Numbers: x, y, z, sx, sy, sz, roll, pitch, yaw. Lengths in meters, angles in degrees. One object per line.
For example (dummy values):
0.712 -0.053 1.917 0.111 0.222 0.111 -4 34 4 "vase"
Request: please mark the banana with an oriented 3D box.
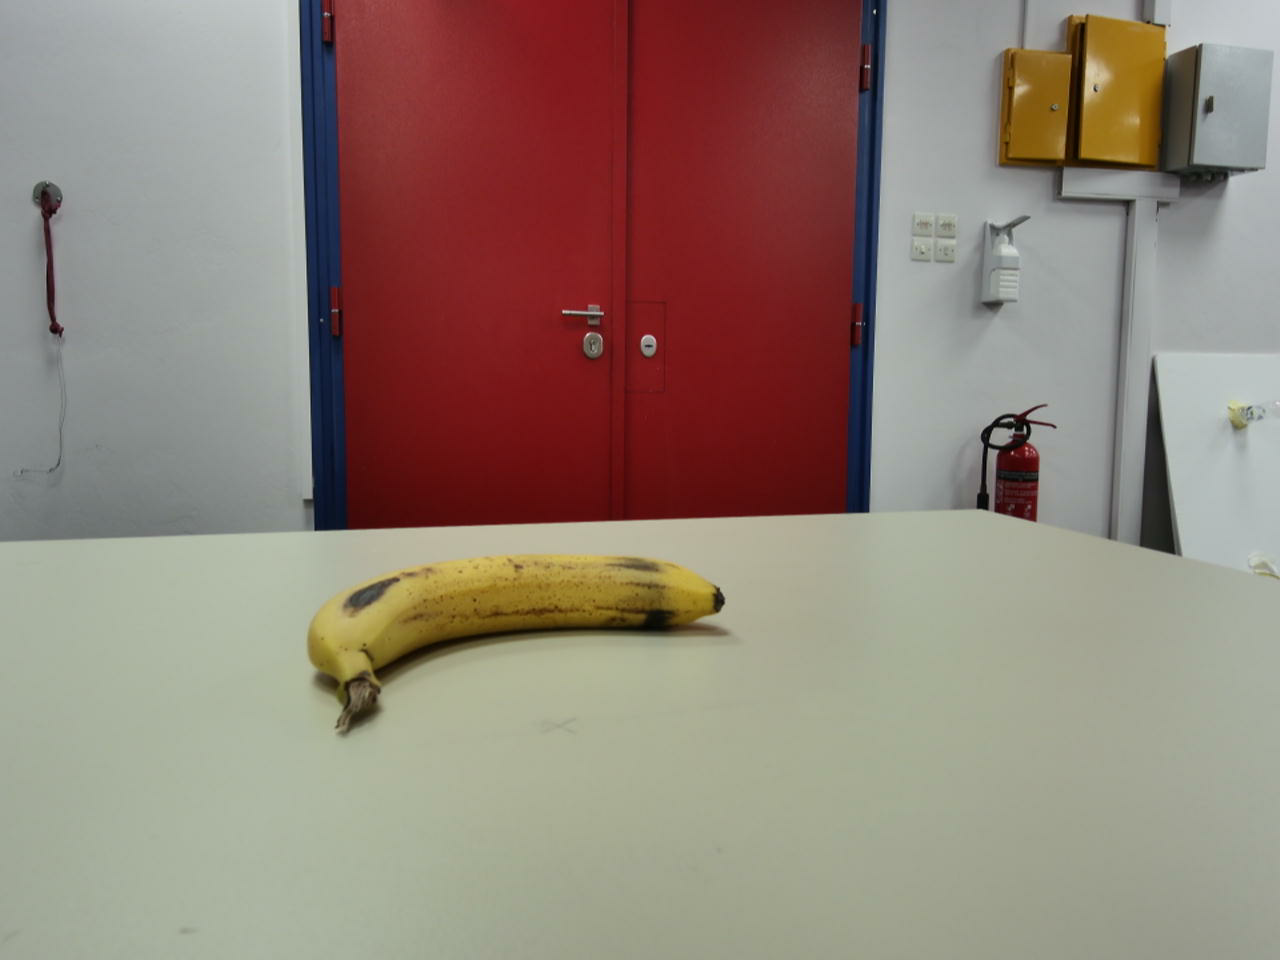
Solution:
-0.059 0.056 0.432 0.186 0.038 0.097 -4 6 -41 "banana"
